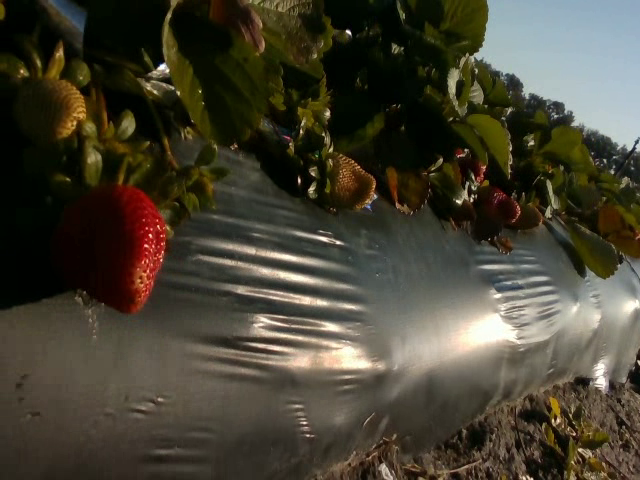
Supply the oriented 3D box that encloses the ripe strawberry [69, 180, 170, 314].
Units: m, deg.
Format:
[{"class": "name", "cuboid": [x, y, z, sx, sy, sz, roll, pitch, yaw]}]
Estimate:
[{"class": "ripe strawberry", "cuboid": [-0.070, 0.005, 0.204, 0.042, 0.058, 0.042, -41, -44, 12]}]
